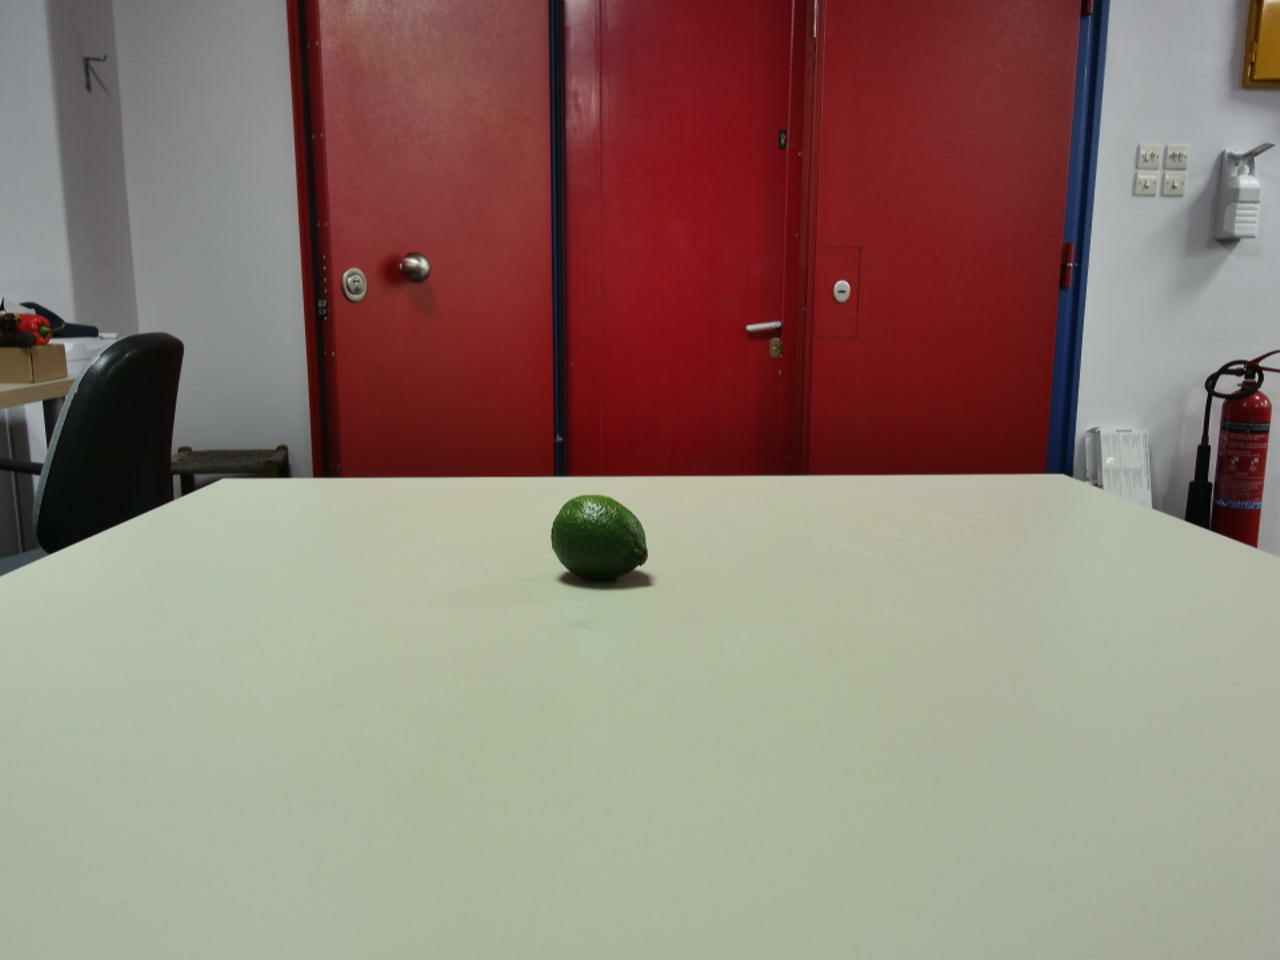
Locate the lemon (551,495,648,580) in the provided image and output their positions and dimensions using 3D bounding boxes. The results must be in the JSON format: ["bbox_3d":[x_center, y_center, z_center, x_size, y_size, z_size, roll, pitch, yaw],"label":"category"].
[{"bbox_3d":[-0.026,0.034,0.607,0.057,0.051,0.054,-1,8,-4],"label":"lemon"}]
